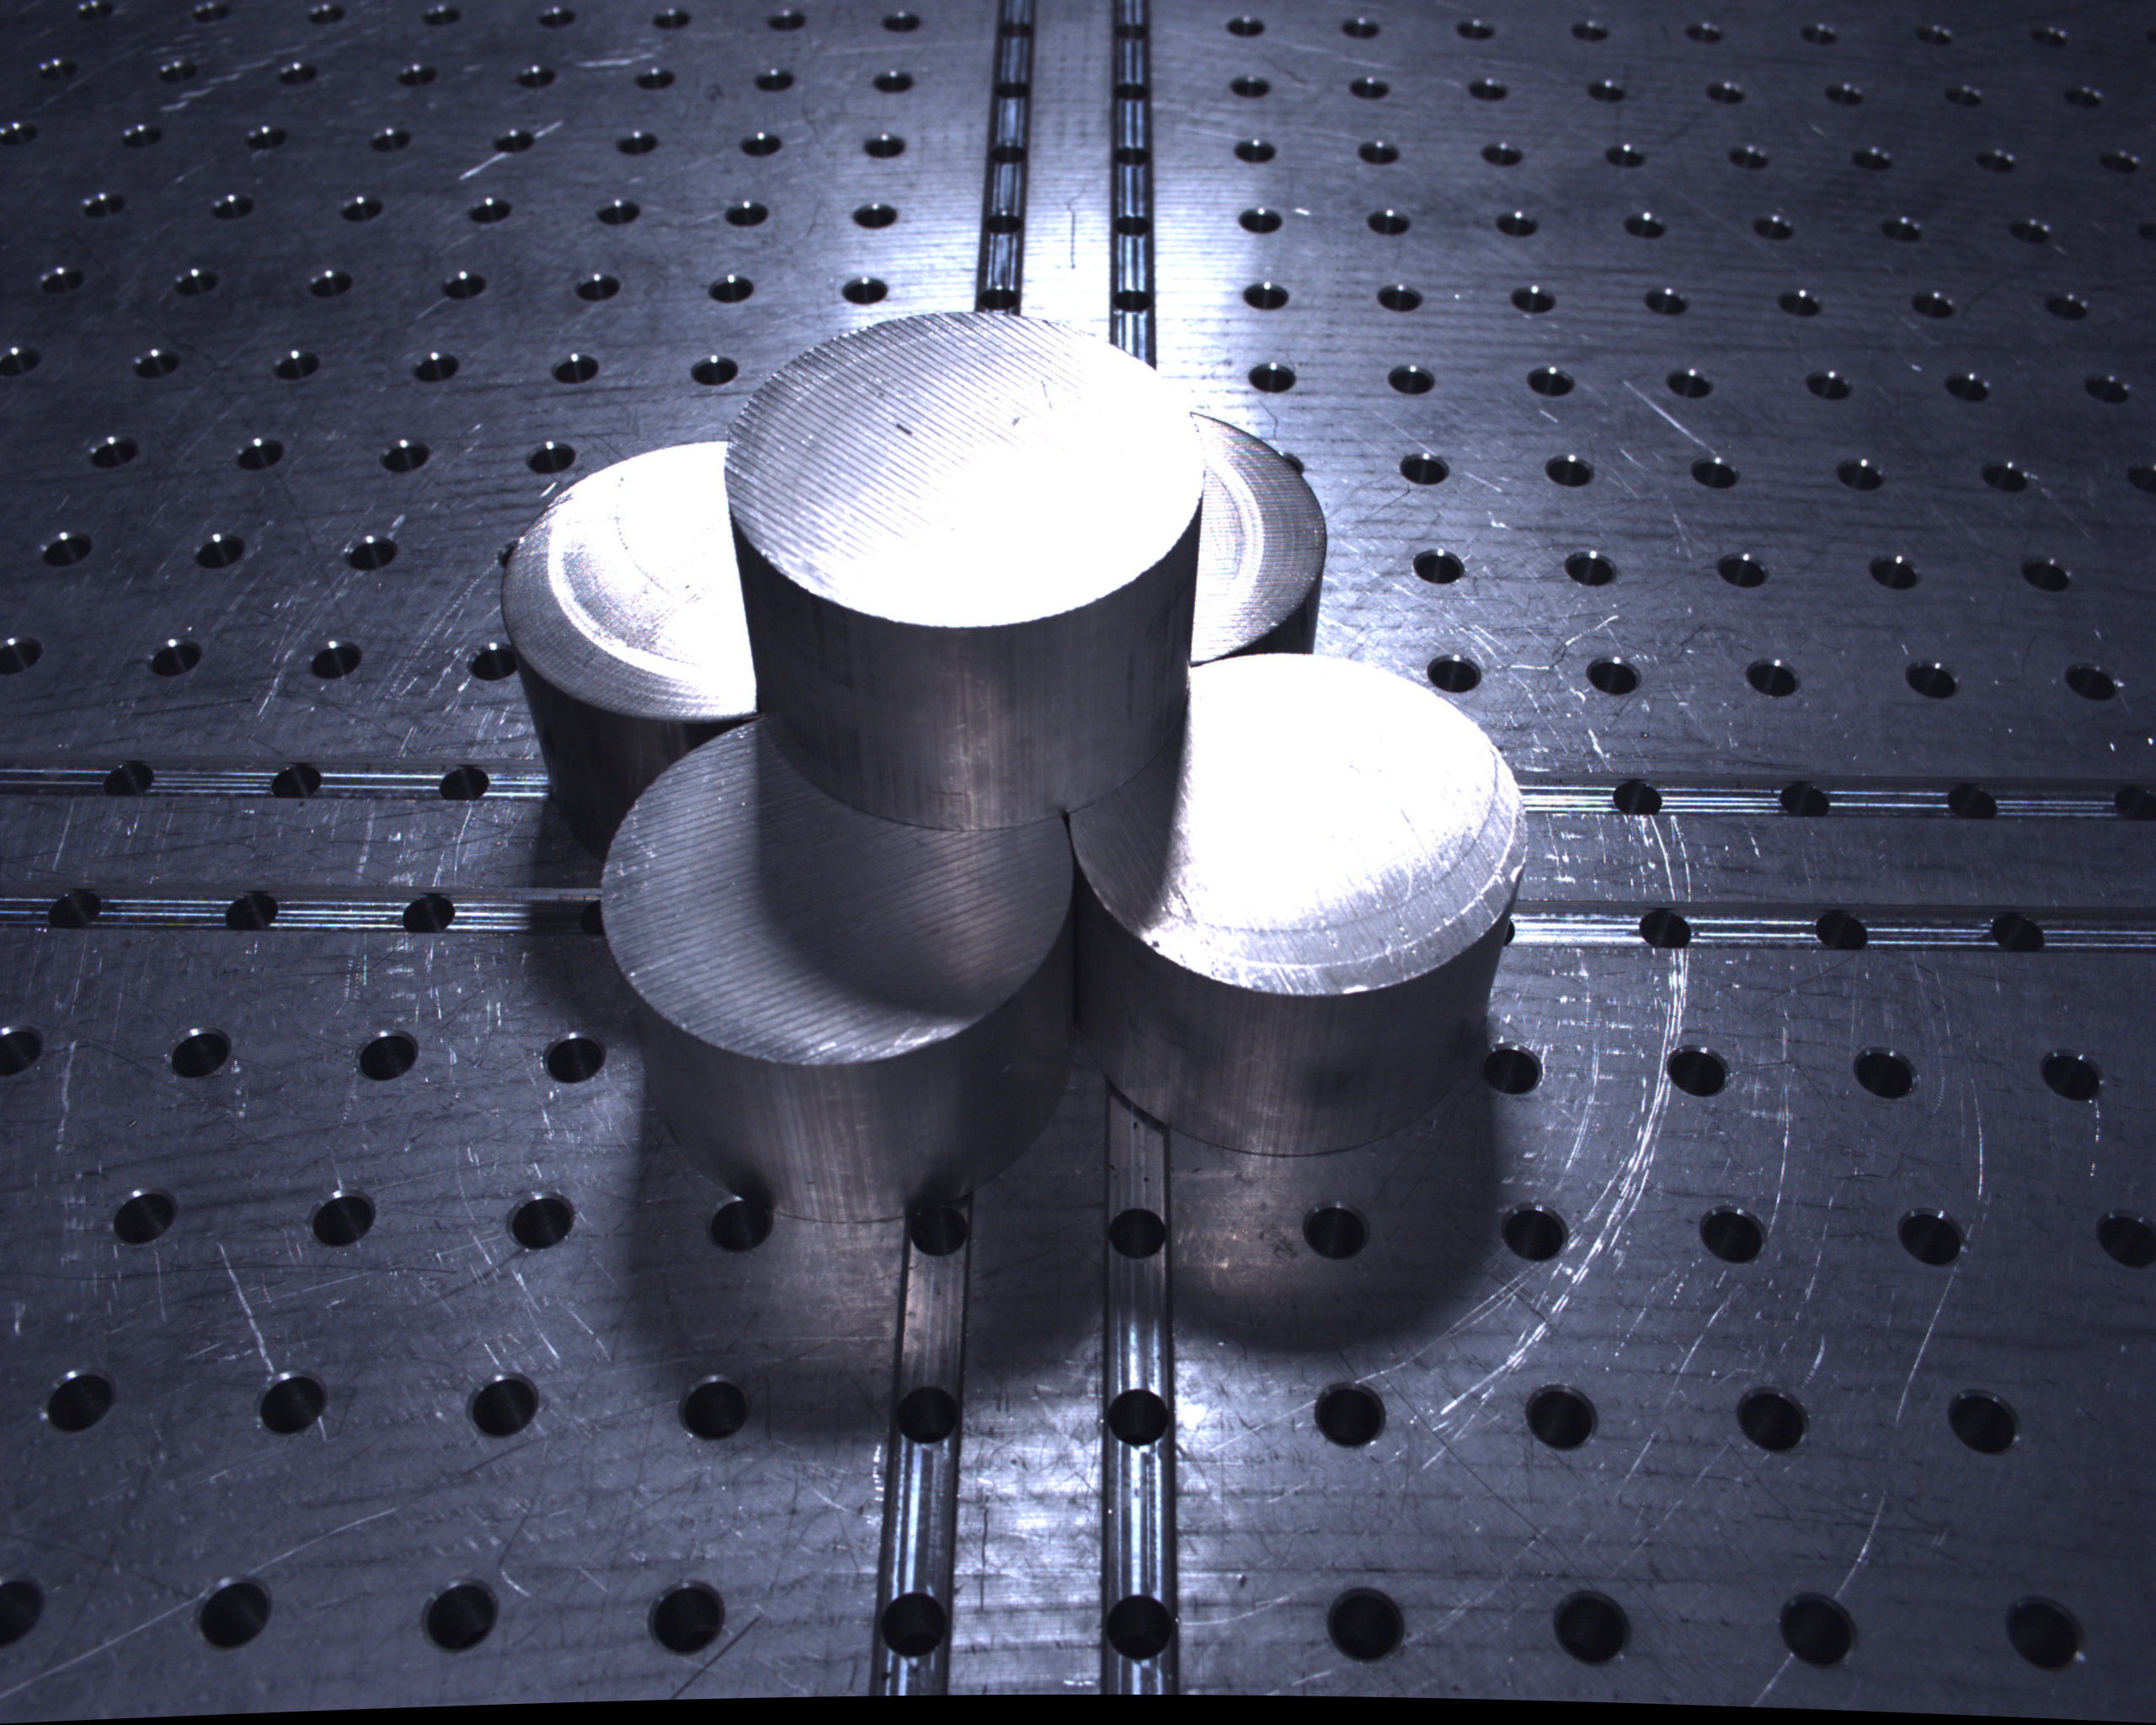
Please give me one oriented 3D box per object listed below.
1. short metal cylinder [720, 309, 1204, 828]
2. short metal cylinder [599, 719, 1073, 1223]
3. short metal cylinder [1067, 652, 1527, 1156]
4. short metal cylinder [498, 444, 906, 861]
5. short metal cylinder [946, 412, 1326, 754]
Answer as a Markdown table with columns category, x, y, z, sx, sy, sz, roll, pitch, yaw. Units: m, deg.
| category | x | y | z | sx | sy | sz | roll | pitch | yaw |
| --- | --- | --- | --- | --- | --- | --- | --- | --- | --- |
| short metal cylinder | -0.020 | -0.053 | 0.368 | 0.081 | 0.050 | 0.080 | 1 | 51 | -1 |
| short metal cylinder | -0.041 | 0.017 | 0.375 | 0.081 | 0.050 | 0.080 | 0 | 50 | 0 |
| short metal cylinder | 0.038 | 0.007 | 0.385 | 0.081 | 0.050 | 0.080 | 0 | 50 | 0 |
| short metal cylinder | -0.071 | -0.040 | 0.423 | 0.081 | 0.050 | 0.080 | 0 | 50 | 0 |
| short metal cylinder | 0.009 | -0.051 | 0.433 | 0.081 | 0.050 | 0.080 | 0 | 50 | 0 |
